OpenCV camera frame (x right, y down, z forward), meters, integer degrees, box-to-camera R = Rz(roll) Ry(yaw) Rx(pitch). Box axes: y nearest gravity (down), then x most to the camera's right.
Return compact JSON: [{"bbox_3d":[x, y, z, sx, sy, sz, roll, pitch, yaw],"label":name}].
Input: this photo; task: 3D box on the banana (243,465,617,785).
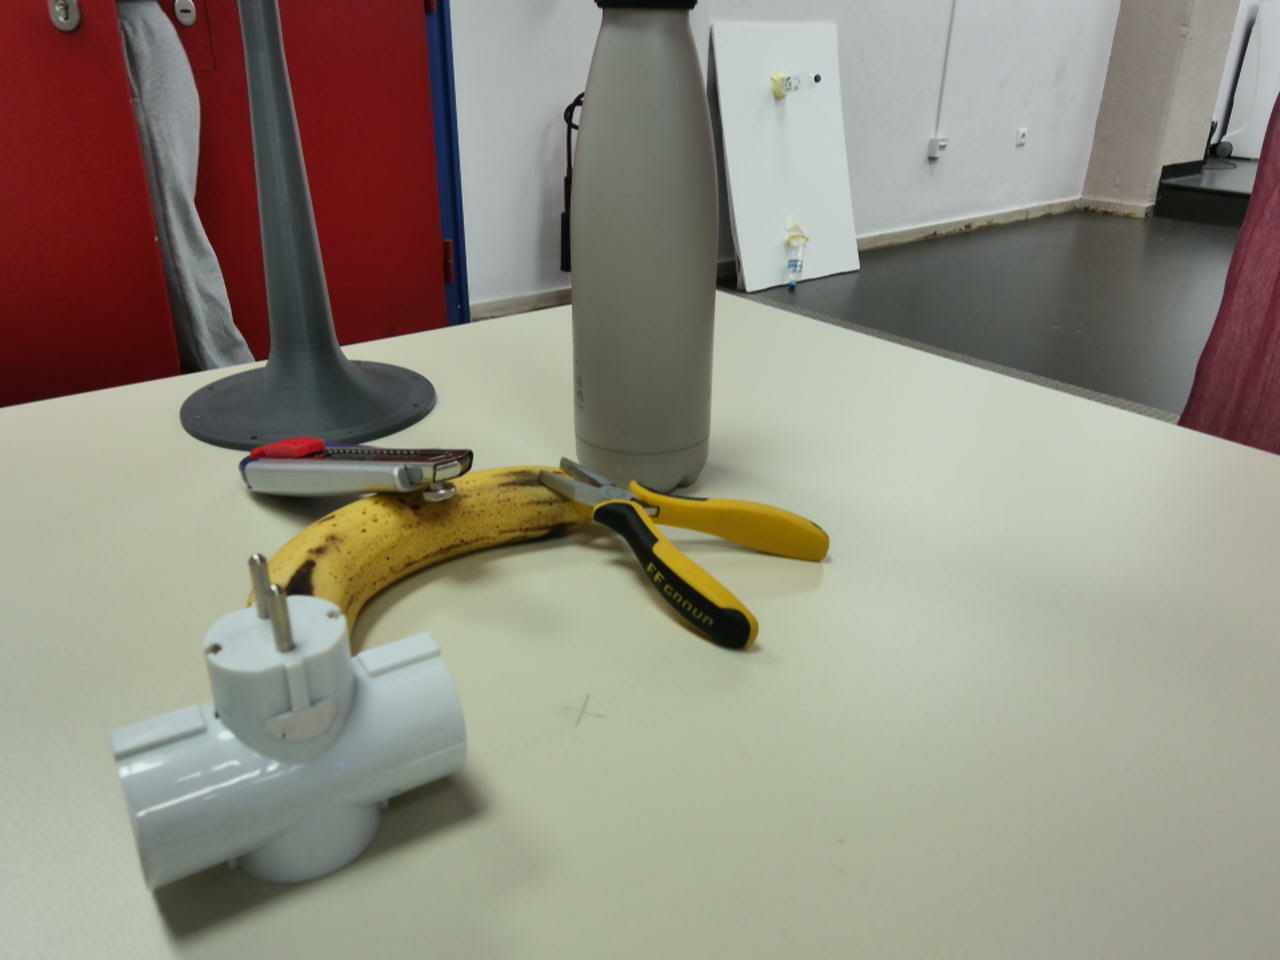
[{"bbox_3d":[-0.089,0.034,0.407,0.097,0.038,0.186,10,25,21],"label":"banana"}]
